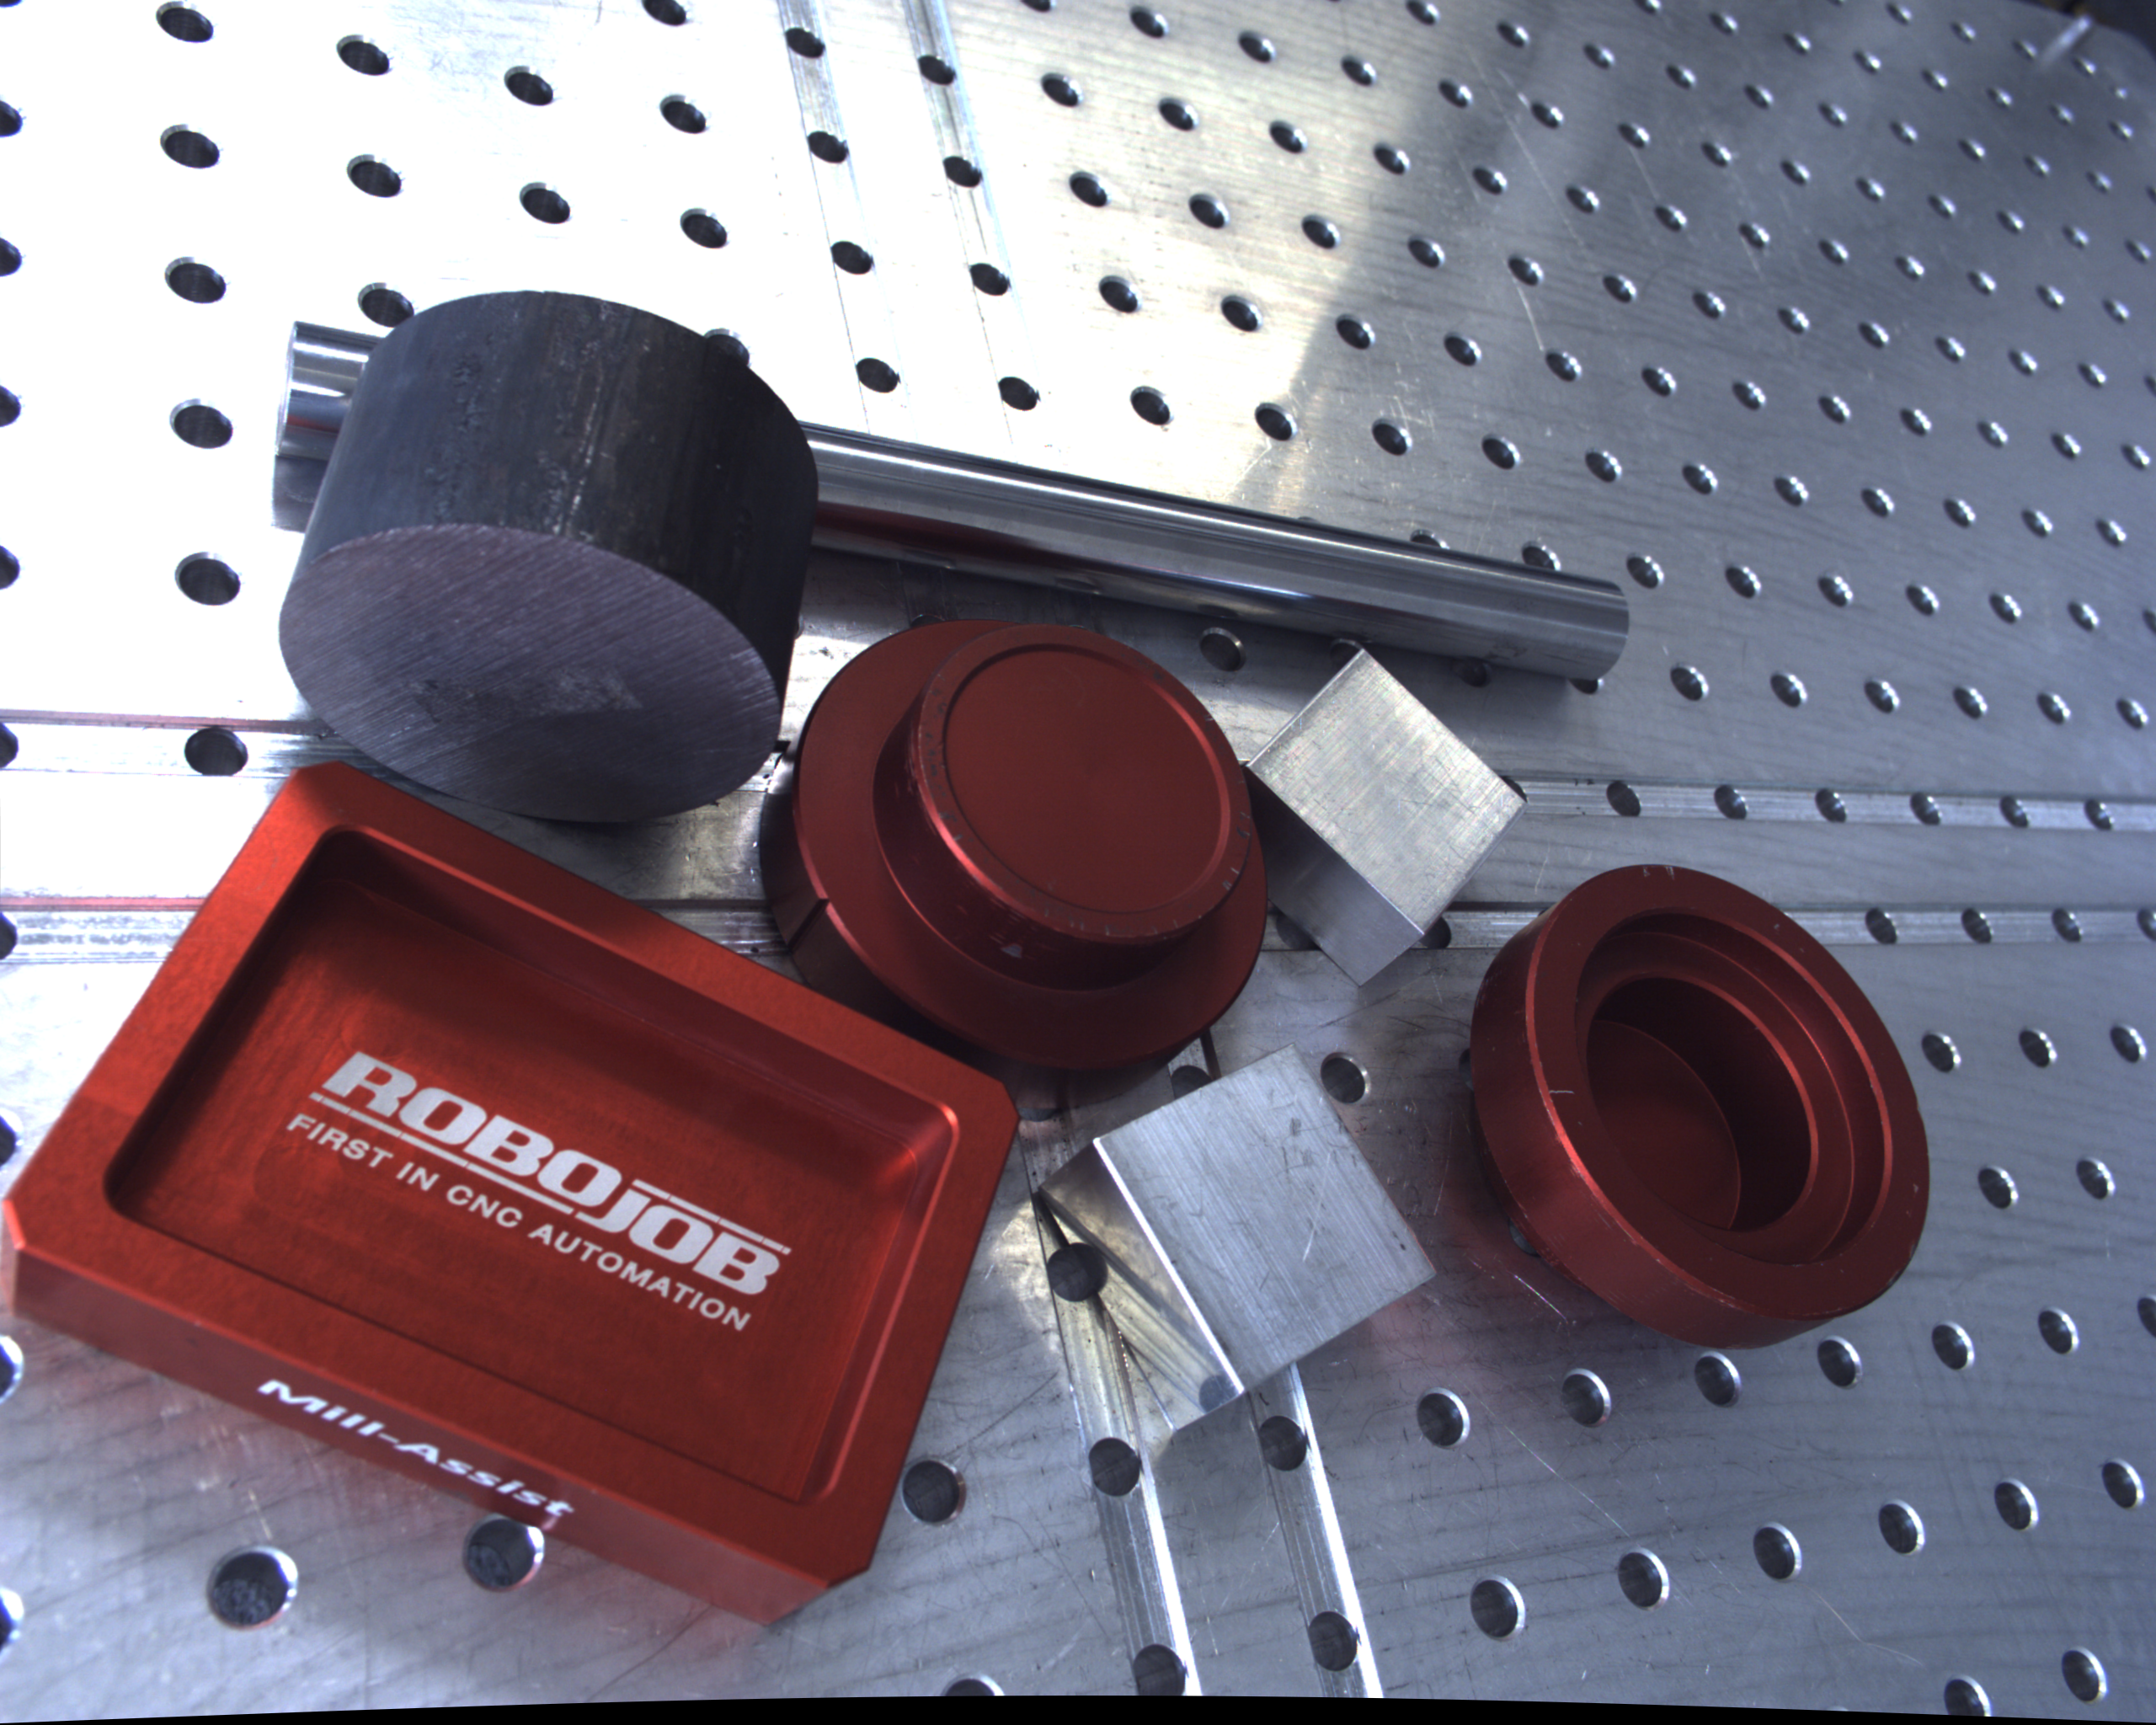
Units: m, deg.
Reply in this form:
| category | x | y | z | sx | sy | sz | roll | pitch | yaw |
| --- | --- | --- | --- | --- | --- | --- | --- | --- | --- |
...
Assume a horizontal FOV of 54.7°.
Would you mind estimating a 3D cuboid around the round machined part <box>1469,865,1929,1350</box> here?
| category | x | y | z | sx | sy | sz | roll | pitch | yaw |
| --- | --- | --- | --- | --- | --- | --- | --- | --- | --- |
| round machined part | 0.122 | 0.053 | 0.430 | 0.099 | 0.042 | 0.098 | 14 | 56 | -21 |

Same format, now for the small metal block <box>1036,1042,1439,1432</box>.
| category | x | y | z | sx | sy | sz | roll | pitch | yaw |
| --- | --- | --- | --- | --- | --- | --- | --- | --- | --- |
| small metal block | 0.029 | 0.068 | 0.382 | 0.050 | 0.025 | 0.050 | -21 | 73 | -36 |

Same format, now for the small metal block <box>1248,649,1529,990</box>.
| category | x | y | z | sx | sy | sz | roll | pitch | yaw |
| --- | --- | --- | --- | --- | --- | --- | --- | --- | --- |
| small metal block | 0.060 | -0.010 | 0.447 | 0.050 | 0.025 | 0.050 | 44 | 51 | 2 |

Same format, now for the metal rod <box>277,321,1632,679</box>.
| category | x | y | z | sx | sy | sz | roll | pitch | yaw |
| --- | --- | --- | --- | --- | --- | --- | --- | --- | --- |
| metal rod | -0.009 | -0.072 | 0.446 | 0.302 | 0.025 | 0.025 | 6 | 59 | -25 |

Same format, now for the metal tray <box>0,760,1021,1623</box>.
| category | x | y | z | sx | sy | sz | roll | pitch | yaw |
| --- | --- | --- | --- | --- | --- | --- | --- | --- | --- |
| metal tray | -0.083 | 0.051 | 0.328 | 0.131 | 0.030 | 0.090 | 27 | 53 | -11 |

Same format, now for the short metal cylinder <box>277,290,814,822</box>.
| category | x | y | z | sx | sy | sz | roll | pitch | yaw |
| --- | --- | --- | --- | --- | --- | --- | --- | --- | --- |
| short metal cylinder | -0.088 | -0.050 | 0.355 | 0.081 | 0.080 | 0.050 | 16 | 55 | -19 |

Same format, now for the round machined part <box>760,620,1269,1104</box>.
| category | x | y | z | sx | sy | sz | roll | pitch | yaw |
| --- | --- | --- | --- | --- | --- | --- | --- | --- | --- |
| round machined part | -0.007 | -0.007 | 0.397 | 0.099 | 0.042 | 0.098 | 14 | 53 | -20 |
